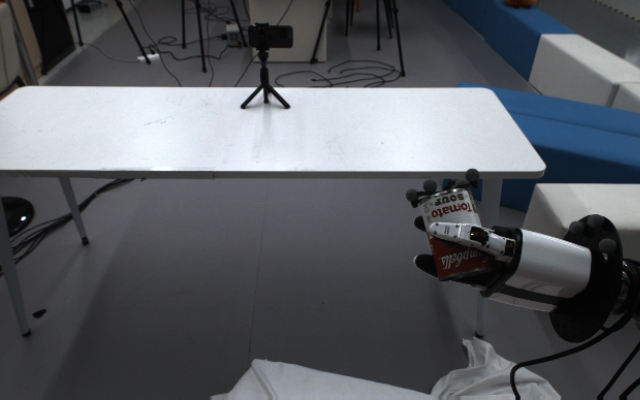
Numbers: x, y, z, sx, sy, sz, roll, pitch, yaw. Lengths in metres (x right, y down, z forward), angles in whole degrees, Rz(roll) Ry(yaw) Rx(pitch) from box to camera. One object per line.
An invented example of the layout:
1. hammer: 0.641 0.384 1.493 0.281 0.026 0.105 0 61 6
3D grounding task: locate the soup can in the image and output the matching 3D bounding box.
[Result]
1. soup can: 0.170 0.043 0.602 0.067 0.067 0.101 -8 74 -14
